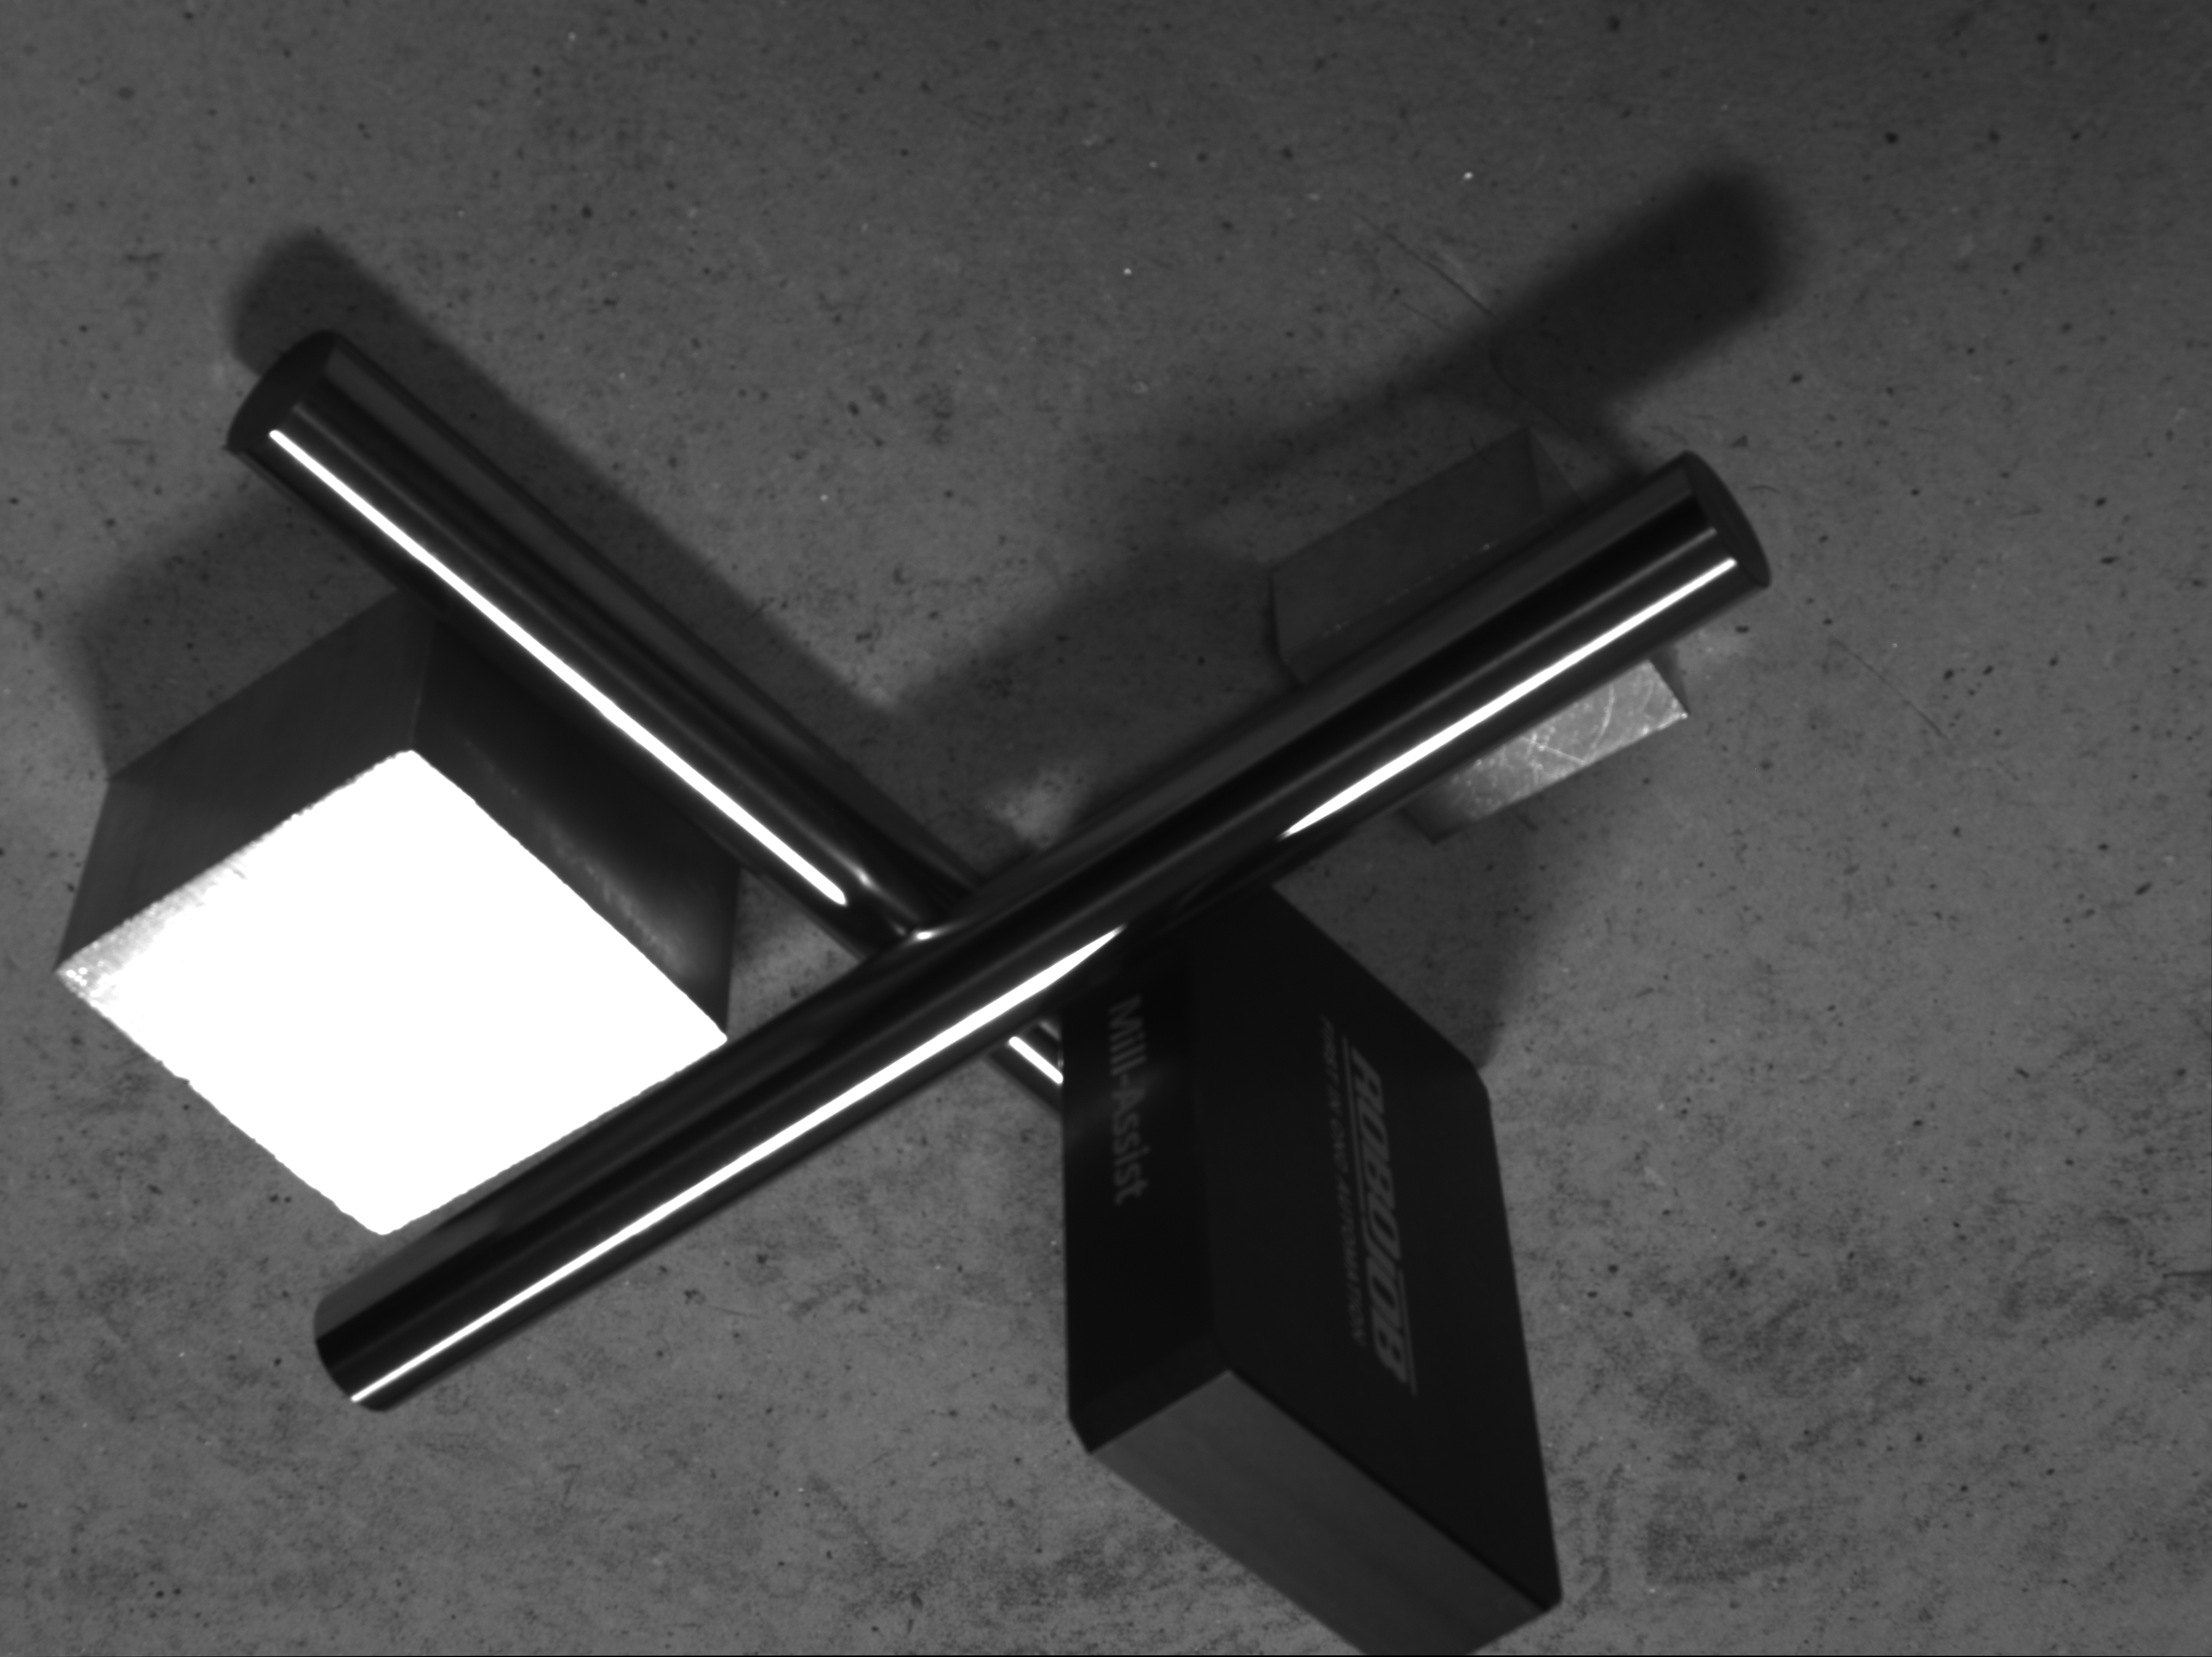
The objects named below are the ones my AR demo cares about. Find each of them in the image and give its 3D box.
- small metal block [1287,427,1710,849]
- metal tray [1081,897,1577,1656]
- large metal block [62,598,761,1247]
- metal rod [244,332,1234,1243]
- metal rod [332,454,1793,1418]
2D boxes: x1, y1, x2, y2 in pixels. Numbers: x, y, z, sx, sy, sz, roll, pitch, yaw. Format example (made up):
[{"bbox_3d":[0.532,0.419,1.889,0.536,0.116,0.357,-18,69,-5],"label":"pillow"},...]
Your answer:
[{"bbox_3d":[0.066,-0.031,0.614,0.050,0.025,0.050,-28,125,20],"label":"small metal block"},{"bbox_3d":[0.036,0.071,0.630,0.030,0.130,0.090,-34,123,25],"label":"metal tray"},{"bbox_3d":[-0.117,0.015,0.629,0.080,0.050,0.080,-29,125,21],"label":"large metal block"},{"bbox_3d":[-0.029,0.017,0.652,0.025,0.025,0.301,-34,123,24],"label":"metal rod"},{"bbox_3d":[-0.018,0.026,0.626,0.300,0.025,0.025,-32,124,22],"label":"metal rod"}]
